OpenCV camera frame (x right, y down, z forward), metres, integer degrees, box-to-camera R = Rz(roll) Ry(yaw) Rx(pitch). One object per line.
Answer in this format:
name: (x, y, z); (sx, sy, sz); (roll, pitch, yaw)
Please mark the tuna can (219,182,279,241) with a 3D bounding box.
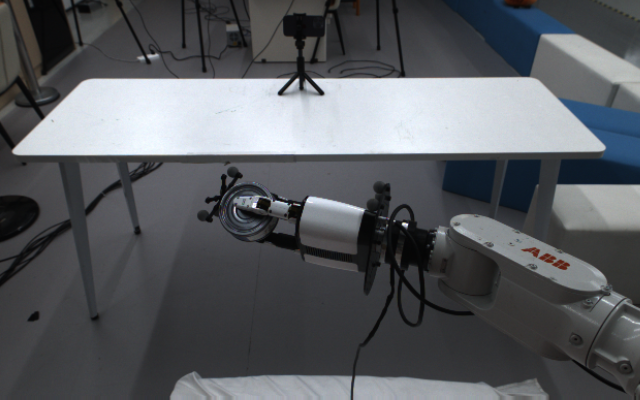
tuna can: (-0.102, 0.021, 0.713); (0.085, 0.034, 0.085); (-2, 73, 6)
